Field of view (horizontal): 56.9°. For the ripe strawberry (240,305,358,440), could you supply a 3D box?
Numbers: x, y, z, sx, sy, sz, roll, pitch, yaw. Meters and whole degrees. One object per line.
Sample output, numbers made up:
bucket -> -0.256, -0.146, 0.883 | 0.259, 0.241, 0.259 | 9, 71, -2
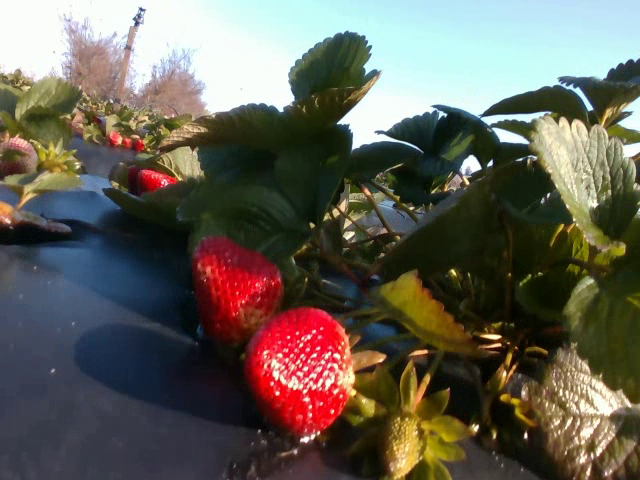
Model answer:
ripe strawberry -> -0.008, 0.040, 0.193 | 0.043, 0.039, 0.053 | 47, 8, 26

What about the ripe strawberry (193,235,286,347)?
ripe strawberry -> -0.037, 0.020, 0.254 | 0.039, 0.054, 0.048 | -38, 12, 41
